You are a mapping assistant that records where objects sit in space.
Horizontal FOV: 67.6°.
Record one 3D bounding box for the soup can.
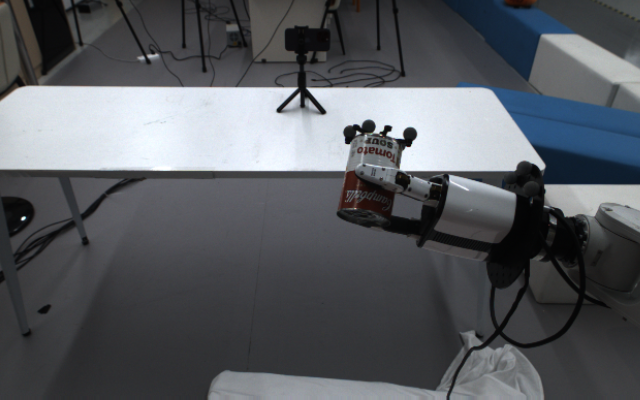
[{"bbox_3d":[0.064,-0.026,0.607,0.067,0.067,0.101,9,74,9],"label":"soup can"}]
